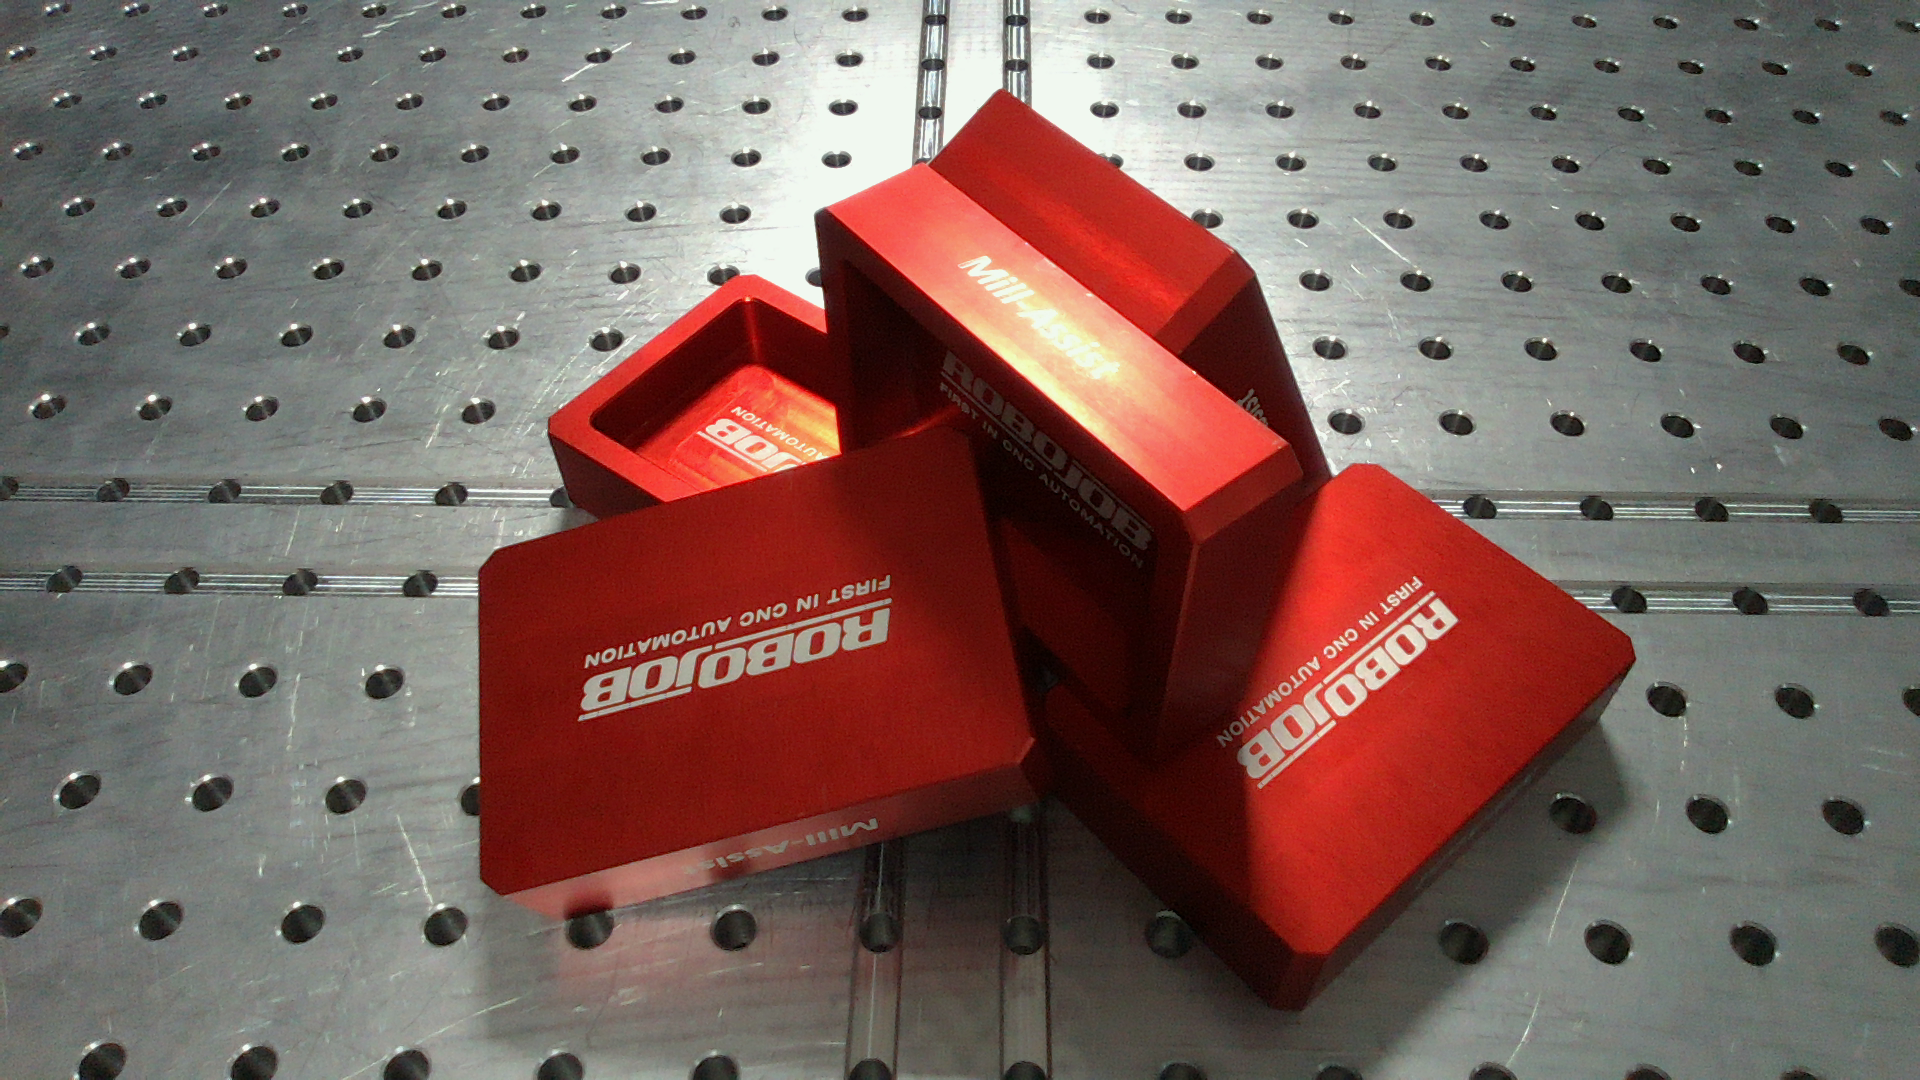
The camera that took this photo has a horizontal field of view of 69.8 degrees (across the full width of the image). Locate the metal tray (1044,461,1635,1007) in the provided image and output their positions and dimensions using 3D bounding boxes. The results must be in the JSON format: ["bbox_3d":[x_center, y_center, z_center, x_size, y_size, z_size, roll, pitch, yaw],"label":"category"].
[{"bbox_3d":[0.096,0.043,0.354,0.130,0.030,0.090,-34,58,-25],"label":"metal tray"}]

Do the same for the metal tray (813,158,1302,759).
[{"bbox_3d":[0.017,-0.020,0.329,0.030,0.090,0.130,-31,56,-23],"label":"metal tray"}]

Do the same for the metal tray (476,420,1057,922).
[{"bbox_3d":[-0.050,0.031,0.334,0.130,0.030,0.090,-15,61,6],"label":"metal tray"}]

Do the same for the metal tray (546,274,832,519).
[{"bbox_3d":[-0.045,-0.022,0.410,0.130,0.030,0.090,29,56,22],"label":"metal tray"}]

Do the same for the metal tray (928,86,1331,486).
[{"bbox_3d":[0.049,-0.055,0.373,0.030,0.130,0.090,-47,60,1],"label":"metal tray"}]
